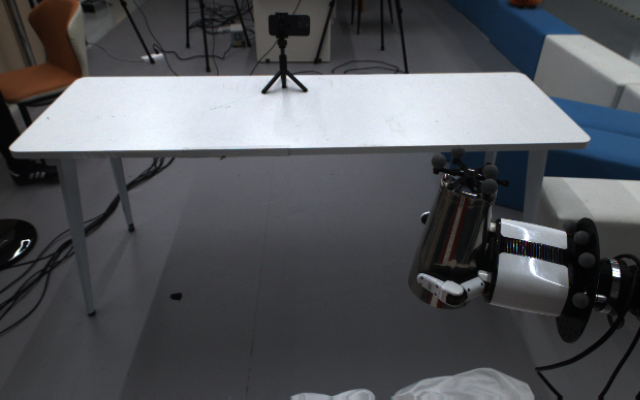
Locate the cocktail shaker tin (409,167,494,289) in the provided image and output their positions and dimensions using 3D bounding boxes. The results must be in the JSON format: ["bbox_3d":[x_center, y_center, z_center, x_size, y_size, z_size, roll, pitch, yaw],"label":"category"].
[{"bbox_3d":[0.175,0.047,0.627,0.093,0.170,0.093,3,34,-2],"label":"cocktail shaker tin"}]
